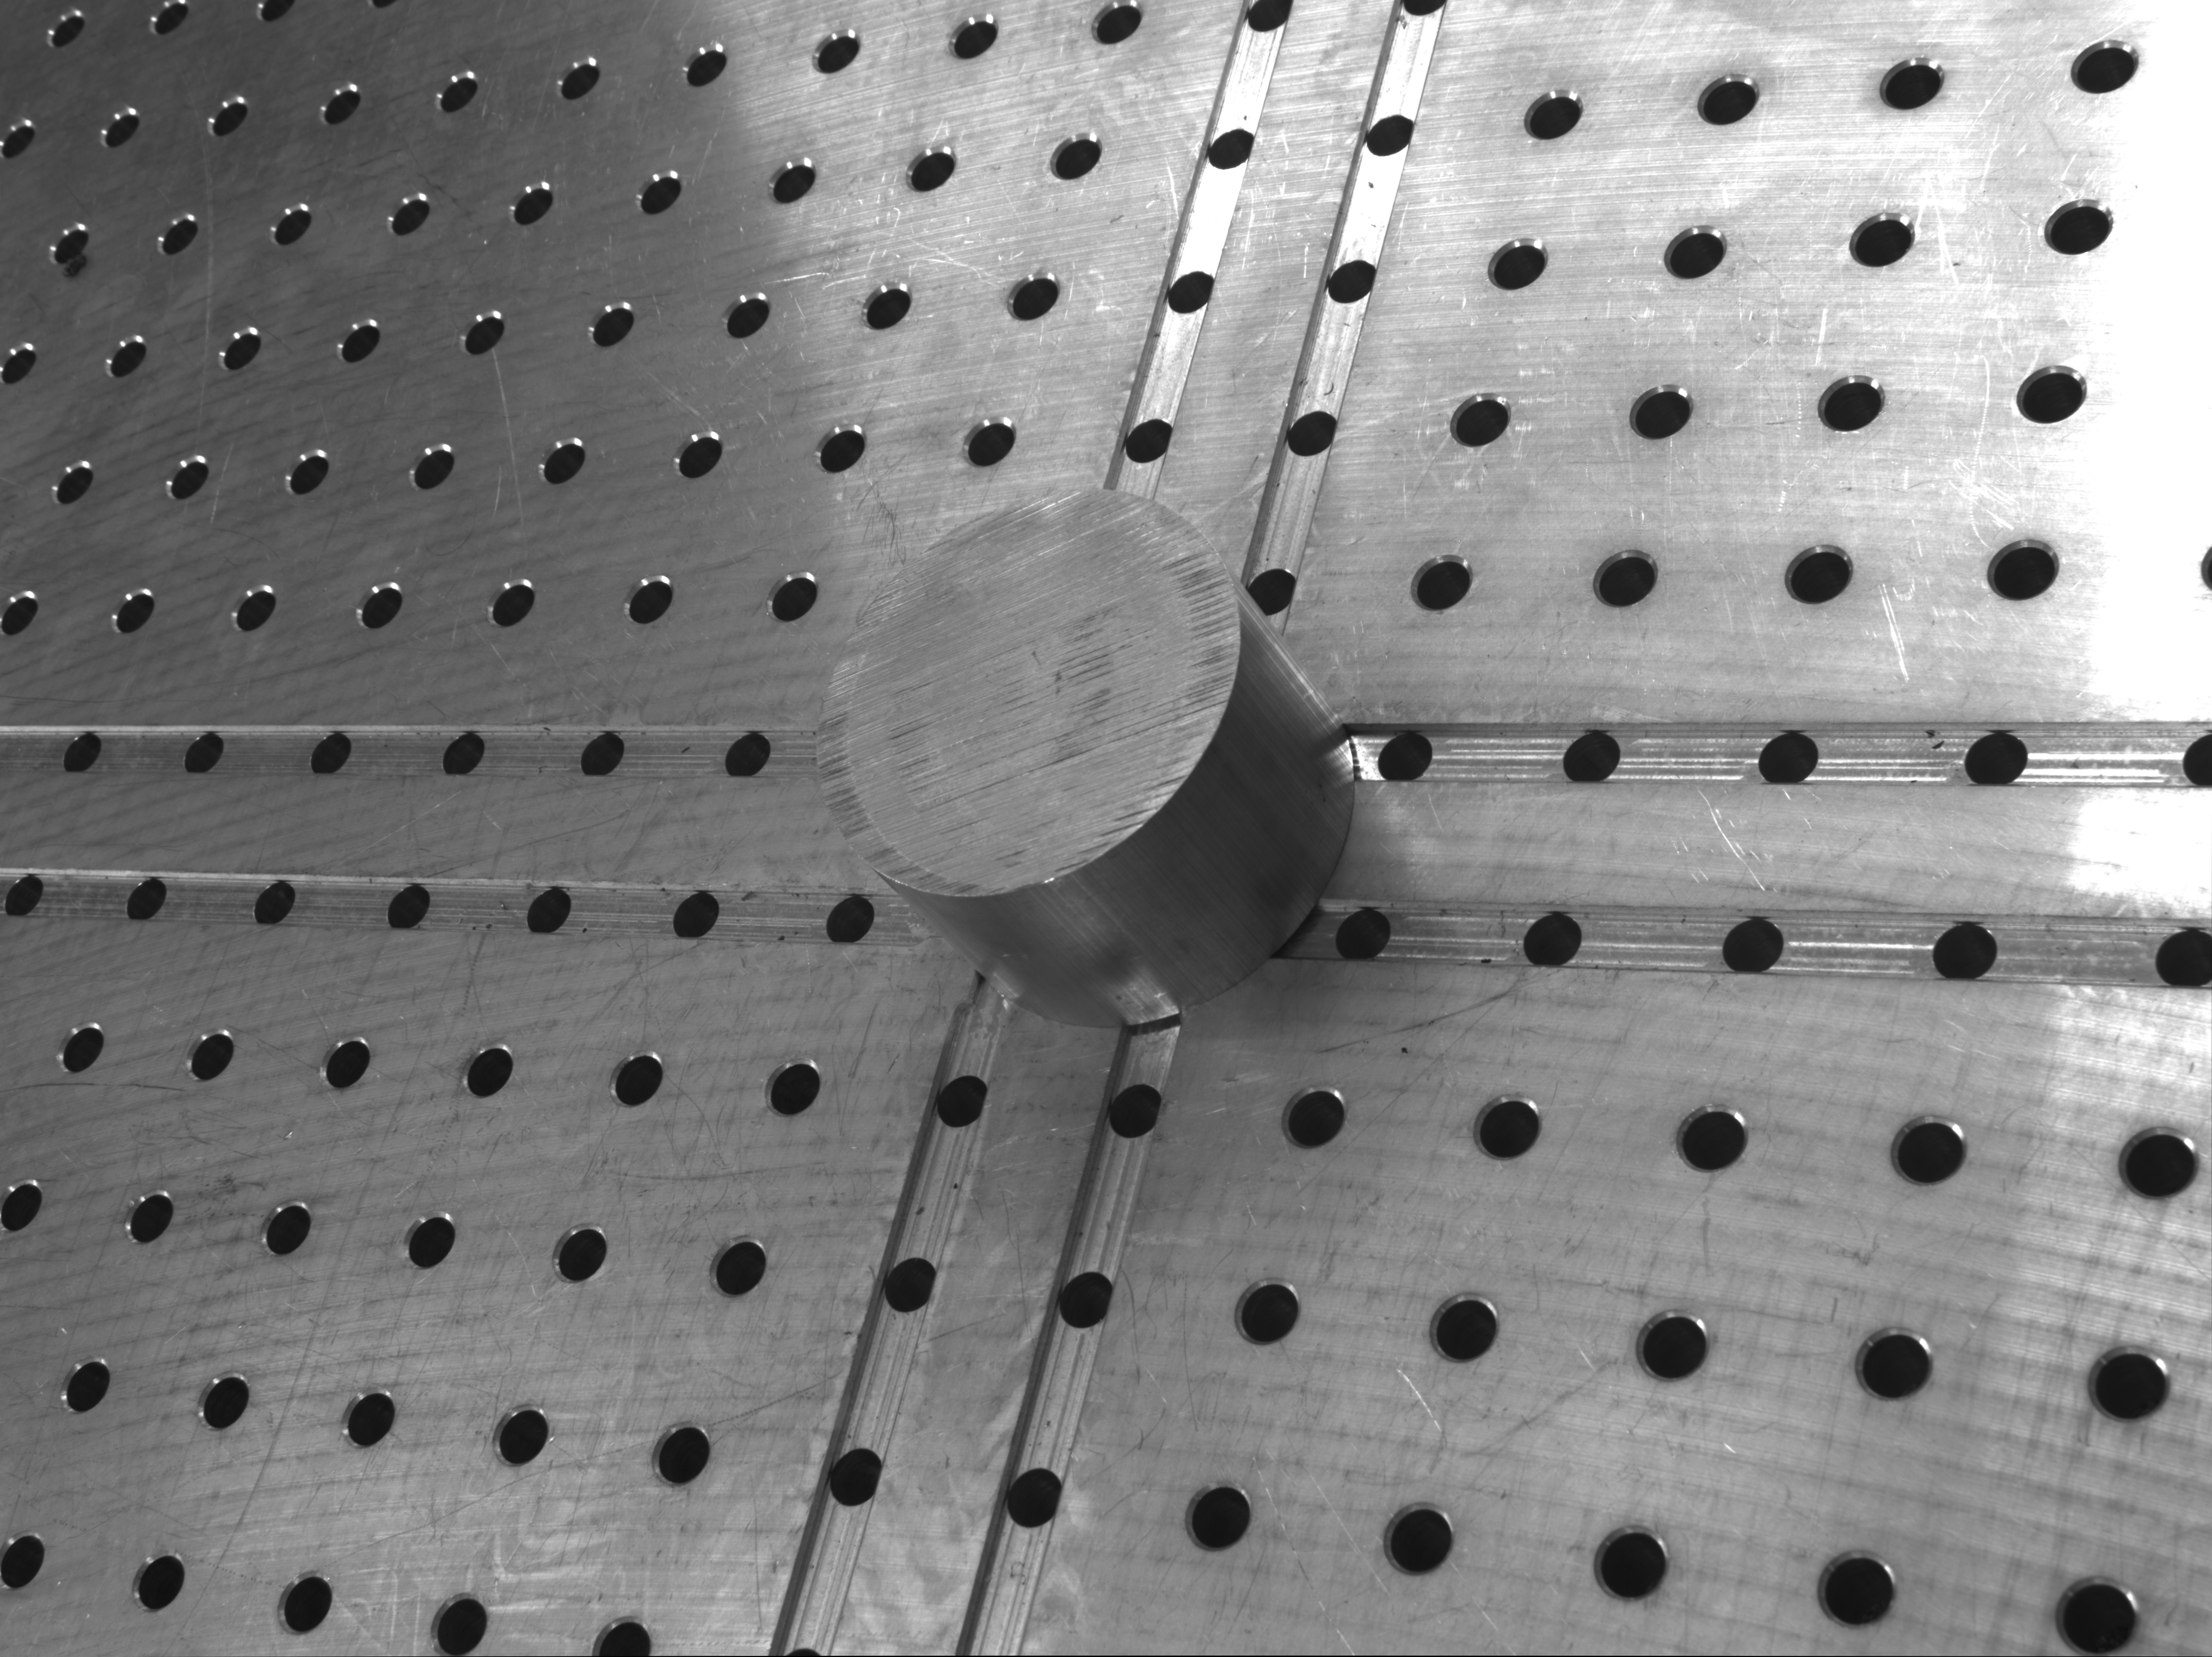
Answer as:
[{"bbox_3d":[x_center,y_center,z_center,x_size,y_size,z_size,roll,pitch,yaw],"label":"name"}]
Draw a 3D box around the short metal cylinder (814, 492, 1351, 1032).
[{"bbox_3d":[-0.004,-0.011,0.641,0.080,0.050,0.080,-14,56,21],"label":"short metal cylinder"}]
